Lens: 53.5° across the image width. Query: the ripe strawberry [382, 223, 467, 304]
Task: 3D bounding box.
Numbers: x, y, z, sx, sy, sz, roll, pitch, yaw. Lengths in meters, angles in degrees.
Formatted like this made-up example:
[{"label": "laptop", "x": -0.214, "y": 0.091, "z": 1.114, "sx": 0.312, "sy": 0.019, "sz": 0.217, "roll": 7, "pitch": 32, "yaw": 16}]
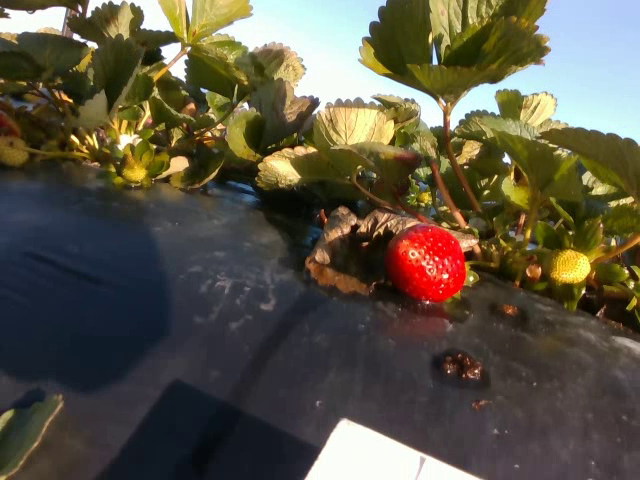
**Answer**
[{"label": "ripe strawberry", "x": 0.037, "y": 0.008, "z": 0.245, "sx": 0.046, "sy": 0.038, "sz": 0.054, "roll": 39, "pitch": 15, "yaw": 33}]
